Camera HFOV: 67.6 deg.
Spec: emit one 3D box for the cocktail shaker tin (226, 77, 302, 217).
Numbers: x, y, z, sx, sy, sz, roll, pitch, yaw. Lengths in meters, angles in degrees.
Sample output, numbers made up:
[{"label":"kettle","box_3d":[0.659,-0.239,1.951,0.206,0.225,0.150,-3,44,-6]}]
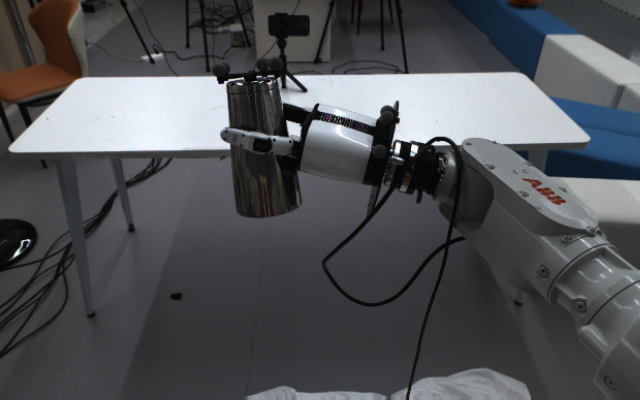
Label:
[{"label":"cocktail shaker tin","box_3d":[-0.079,-0.072,0.643,0.093,0.170,0.093,-6,19,2]}]
